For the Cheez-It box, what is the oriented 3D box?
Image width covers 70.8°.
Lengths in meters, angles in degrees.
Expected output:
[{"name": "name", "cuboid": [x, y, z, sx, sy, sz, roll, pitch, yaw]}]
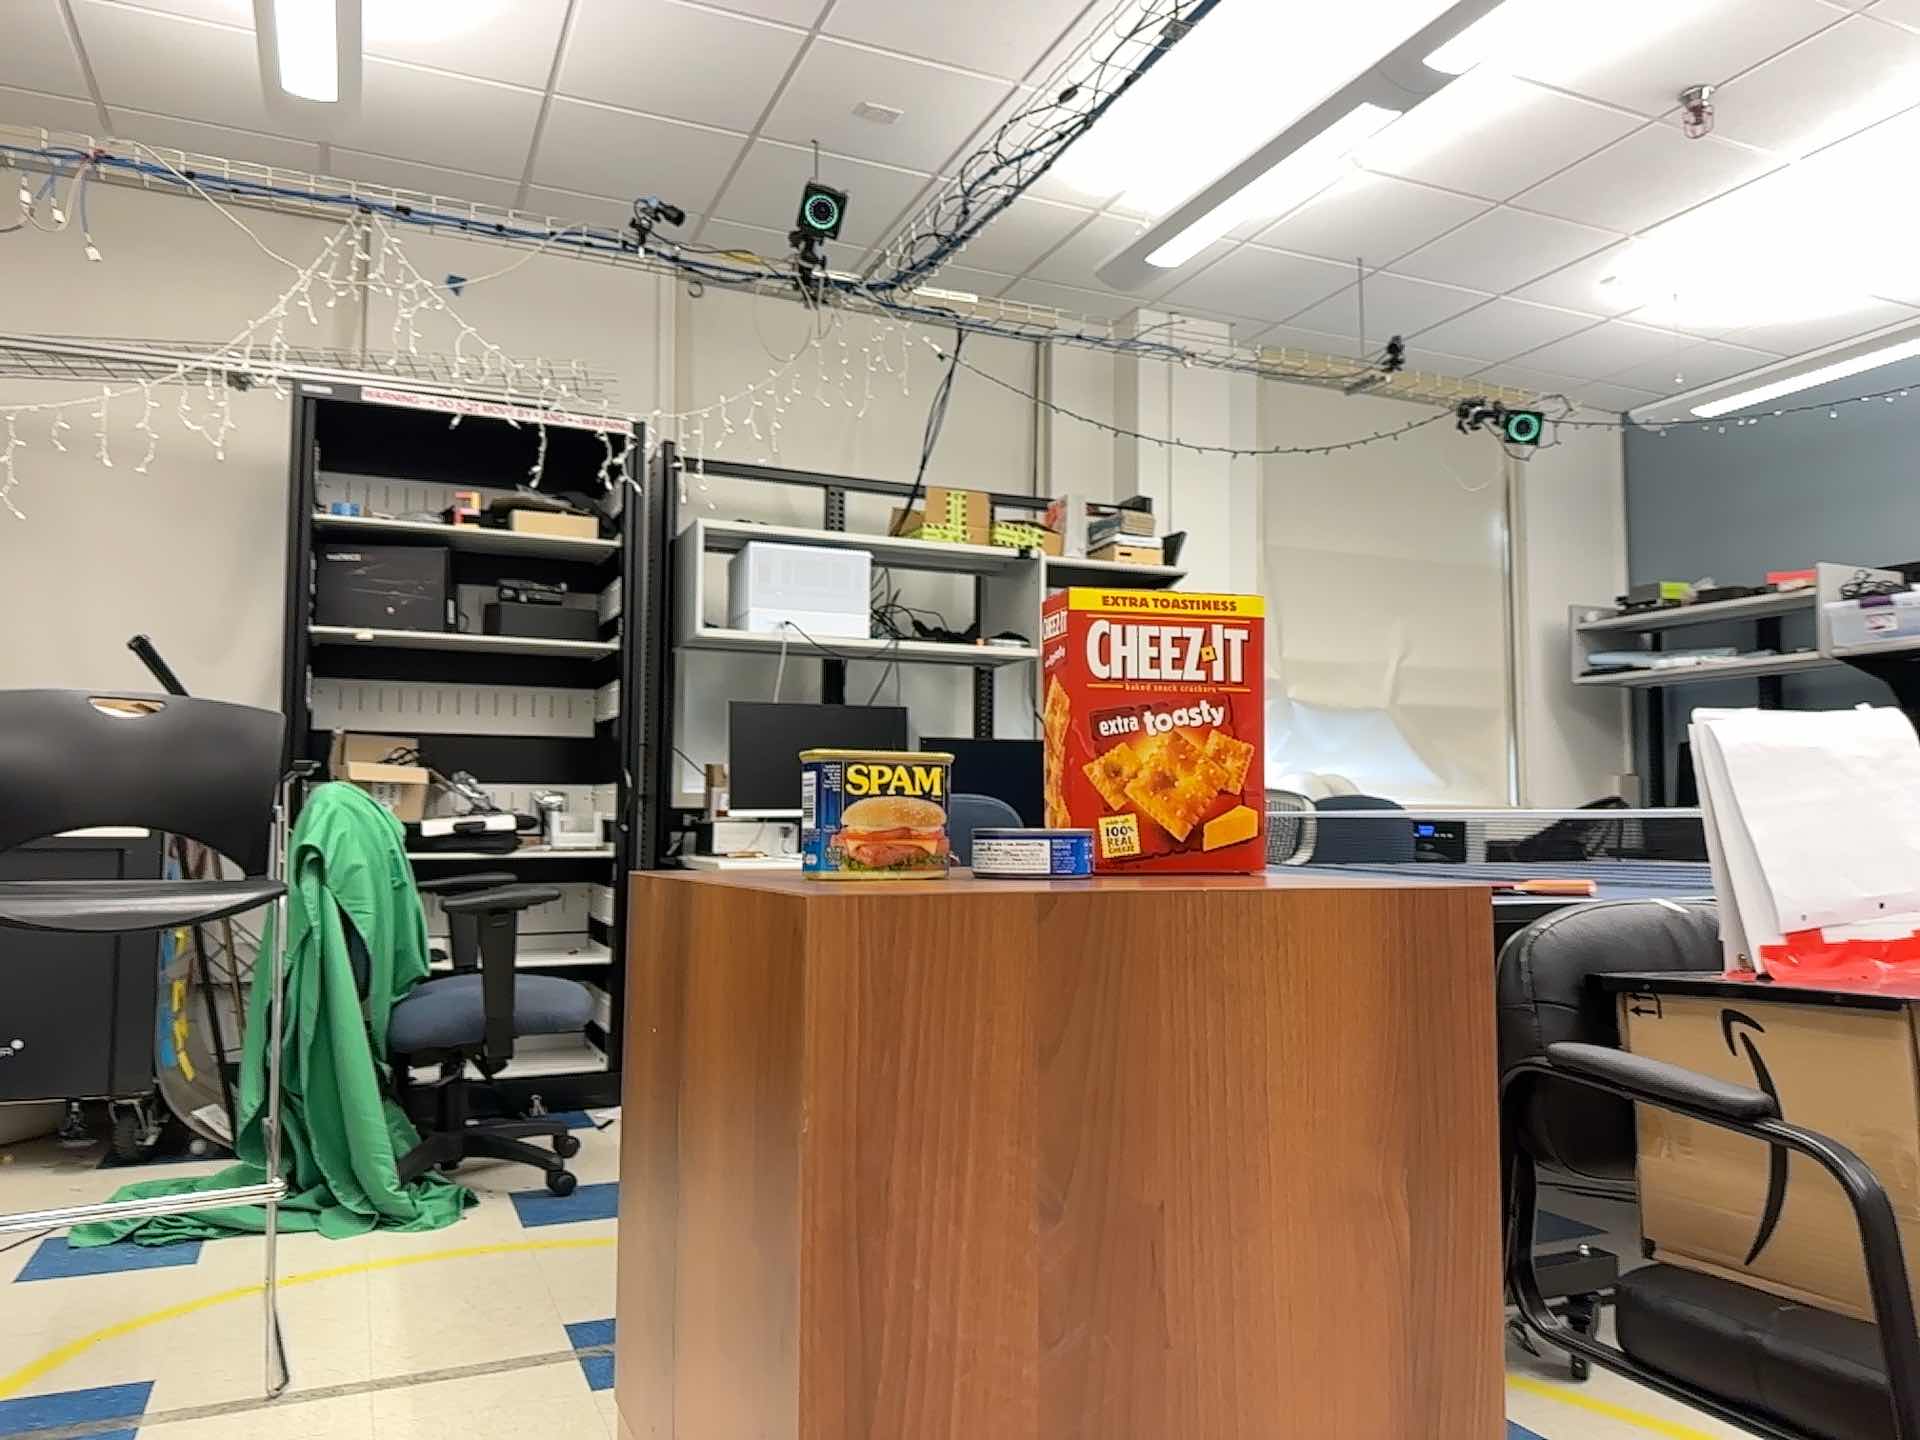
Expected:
[{"name": "Cheez-It box", "cuboid": [0.150, 0.016, 1.055, 0.159, 0.214, 0.062, 2, -5, -18]}]

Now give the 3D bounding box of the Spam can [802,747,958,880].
[{"name": "Spam can", "cuboid": [-0.055, 0.063, 0.904, 0.100, 0.083, 0.056, 3, -5, -15]}]

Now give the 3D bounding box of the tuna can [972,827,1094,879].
[{"name": "tuna can", "cuboid": [0.050, 0.093, 0.940, 0.083, 0.034, 0.083, -1, -6, 0]}]
